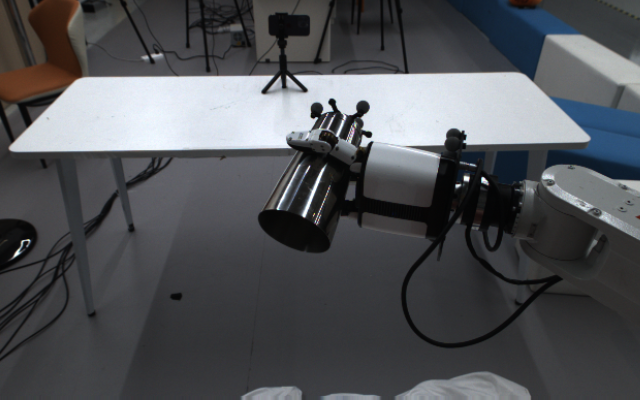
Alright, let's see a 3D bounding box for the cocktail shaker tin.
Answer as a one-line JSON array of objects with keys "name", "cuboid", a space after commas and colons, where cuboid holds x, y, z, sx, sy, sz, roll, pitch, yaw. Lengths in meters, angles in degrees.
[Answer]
[{"name": "cocktail shaker tin", "cuboid": [-0.003, -0.030, 0.611, 0.093, 0.093, 0.170, 13, 59, 16]}]
